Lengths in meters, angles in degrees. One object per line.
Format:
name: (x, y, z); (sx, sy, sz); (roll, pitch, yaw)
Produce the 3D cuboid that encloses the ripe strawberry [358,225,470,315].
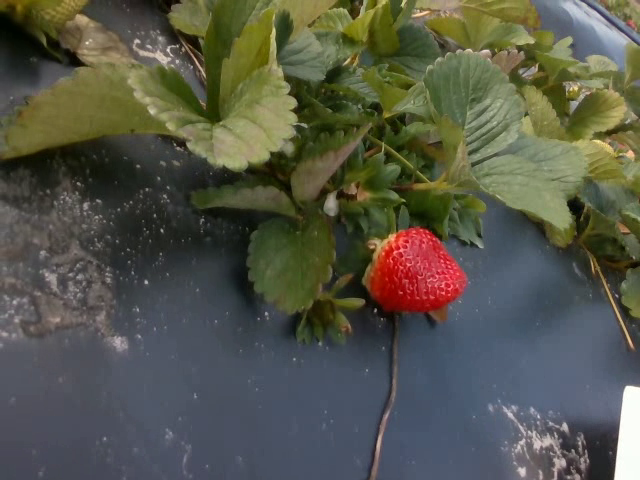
ripe strawberry: (0.050, 0.018, 0.308); (0.050, 0.049, 0.053); (8, 14, -39)
